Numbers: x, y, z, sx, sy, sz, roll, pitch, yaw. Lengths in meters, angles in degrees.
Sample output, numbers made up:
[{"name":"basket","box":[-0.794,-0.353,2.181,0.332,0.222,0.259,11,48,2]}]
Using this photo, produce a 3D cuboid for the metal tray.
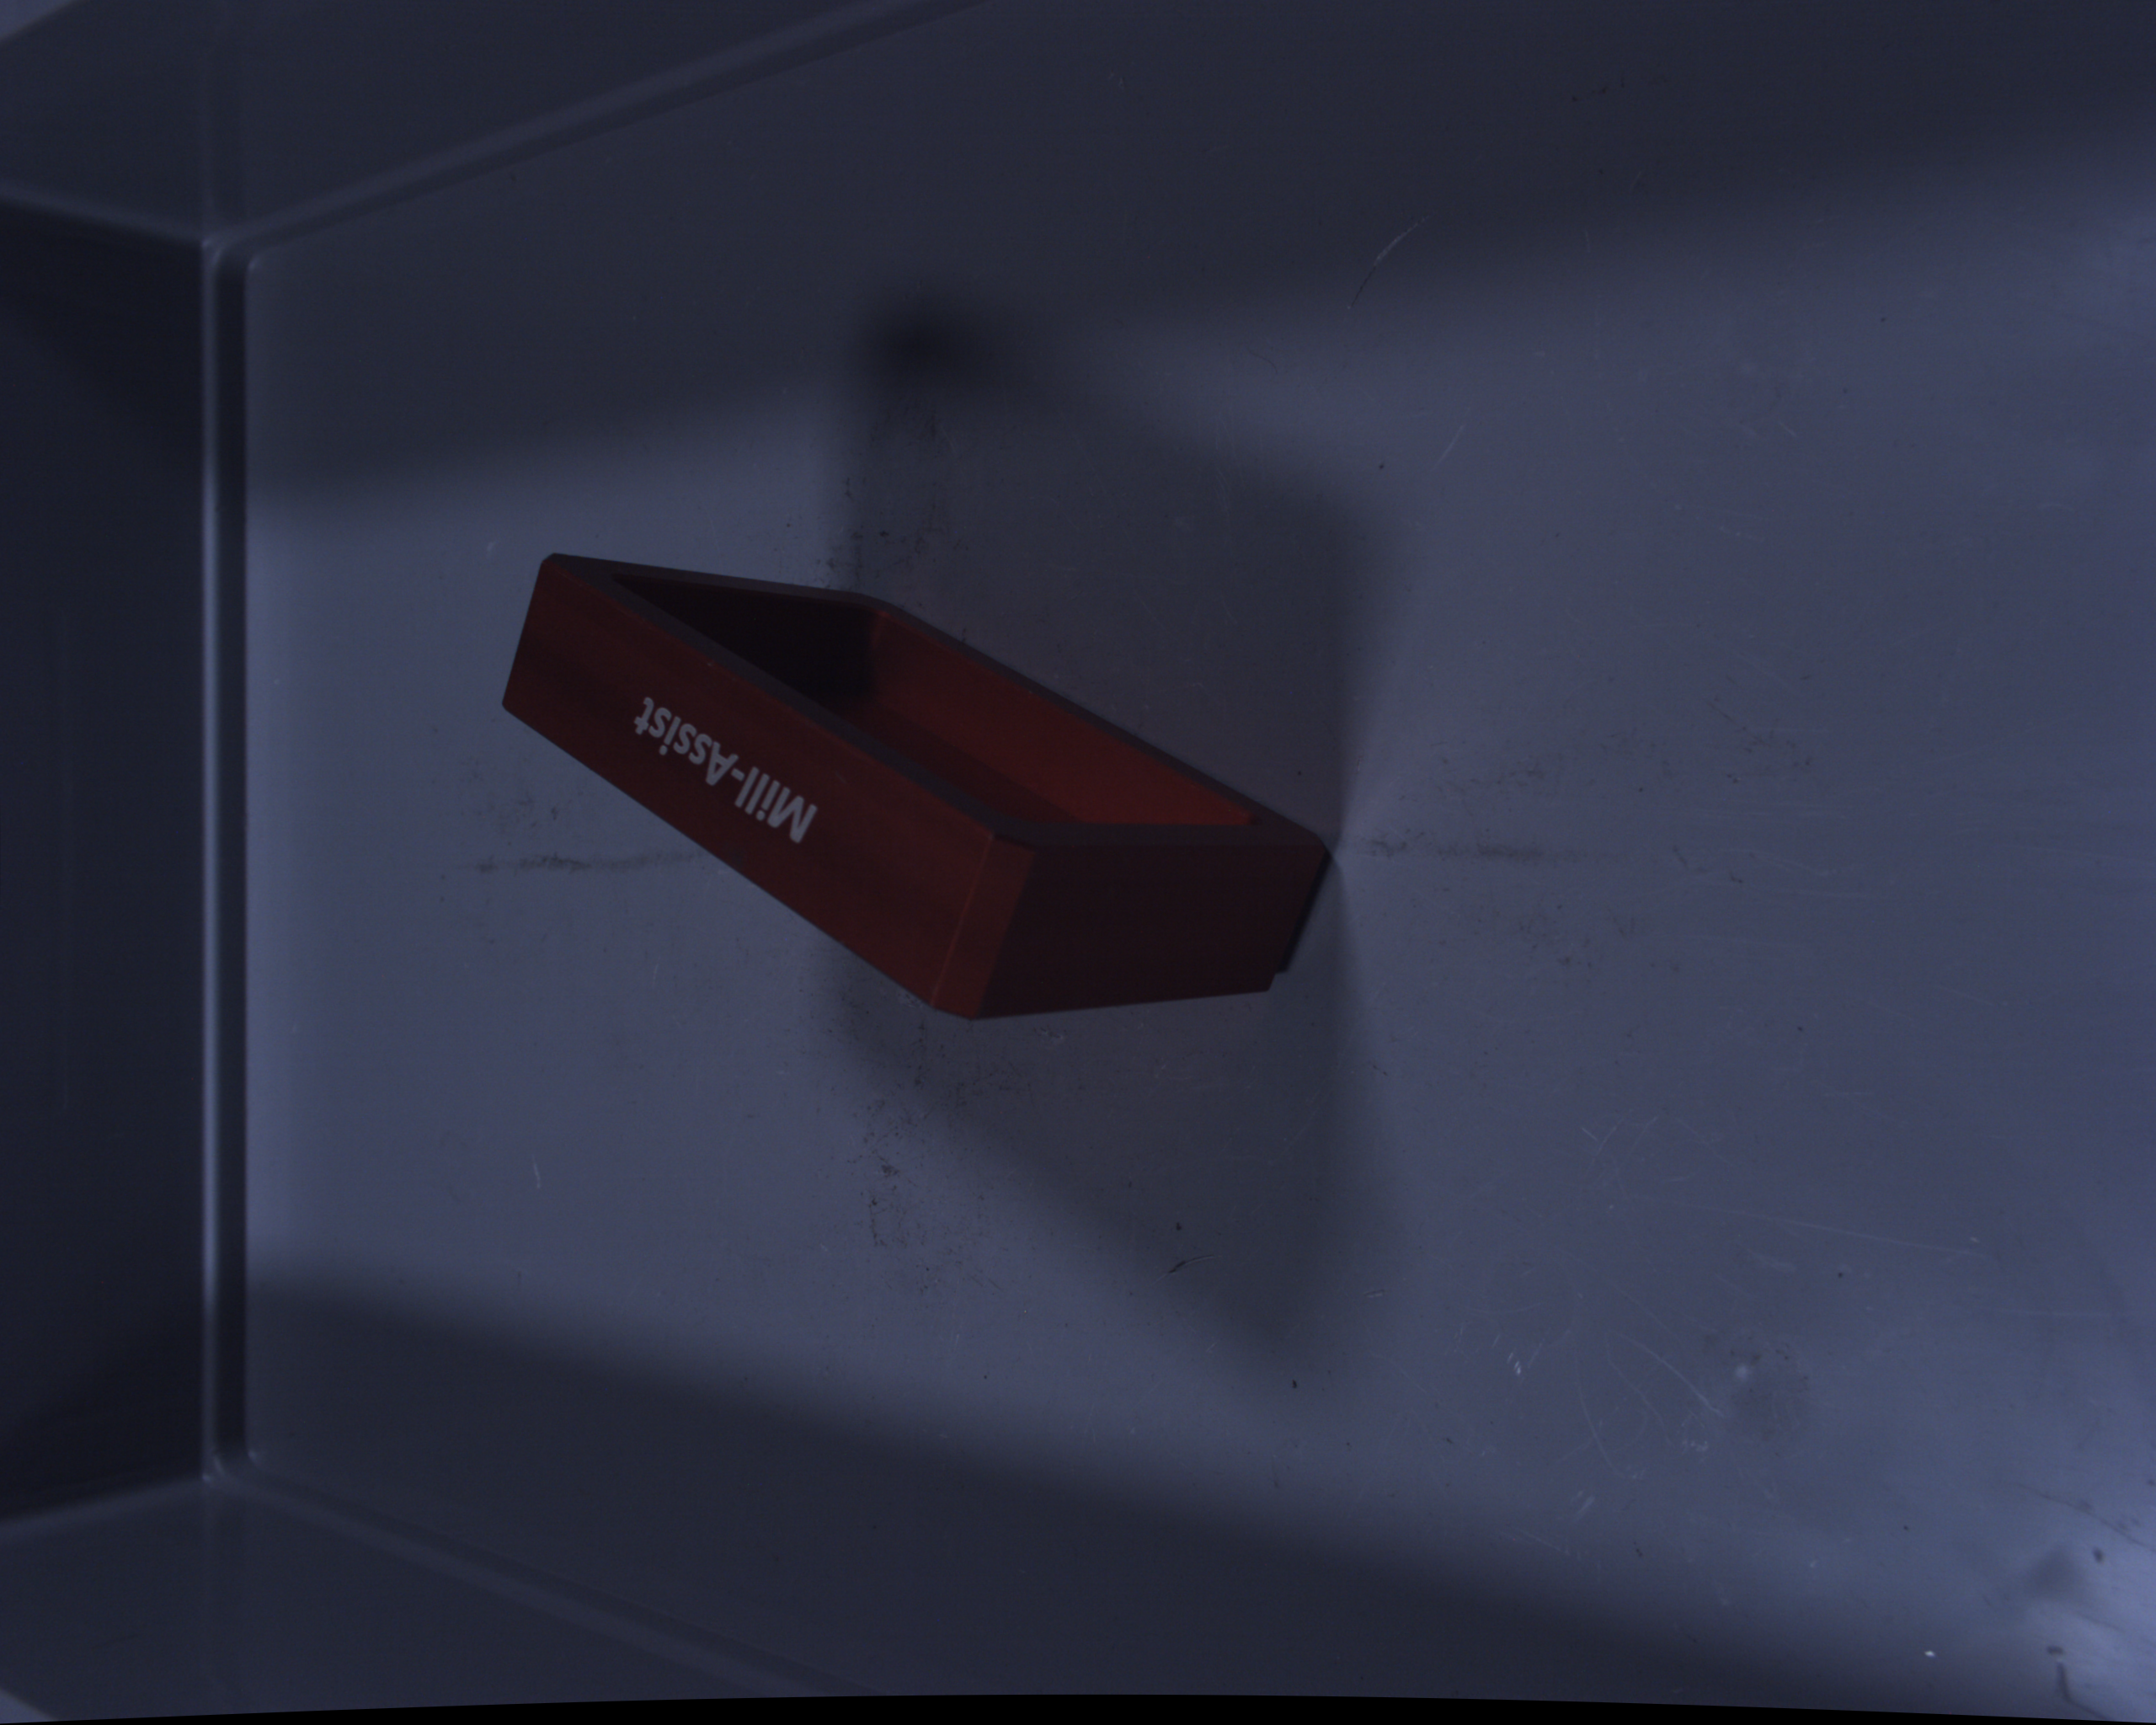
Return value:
[{"name":"metal tray","box":[-0.032,-0.016,0.384,0.130,0.091,0.030,31,109,35]}]
